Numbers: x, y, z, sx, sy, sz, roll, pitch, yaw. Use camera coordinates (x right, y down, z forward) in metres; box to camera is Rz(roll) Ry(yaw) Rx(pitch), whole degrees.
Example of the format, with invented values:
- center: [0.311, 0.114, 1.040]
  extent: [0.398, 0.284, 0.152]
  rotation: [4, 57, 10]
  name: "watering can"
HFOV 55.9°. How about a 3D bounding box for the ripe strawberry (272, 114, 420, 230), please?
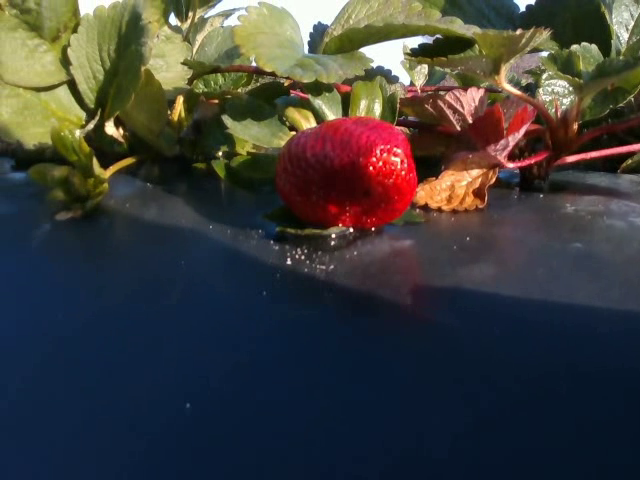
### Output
- center: [0.008, -0.020, 0.156]
  extent: [0.040, 0.041, 0.056]
  rotation: [-32, 9, -12]
  name: "ripe strawberry"
